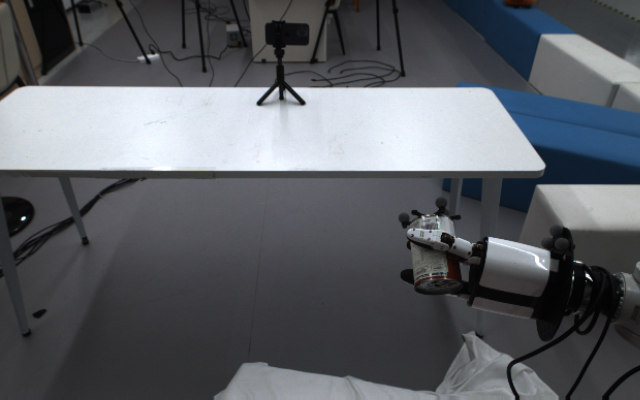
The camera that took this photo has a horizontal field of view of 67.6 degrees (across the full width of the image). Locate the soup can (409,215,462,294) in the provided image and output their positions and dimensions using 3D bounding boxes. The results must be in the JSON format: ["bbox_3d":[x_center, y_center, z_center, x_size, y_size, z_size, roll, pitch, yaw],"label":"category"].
[{"bbox_3d":[0.169,0.079,0.707,0.067,0.067,0.101,1,62,-2],"label":"soup can"}]
